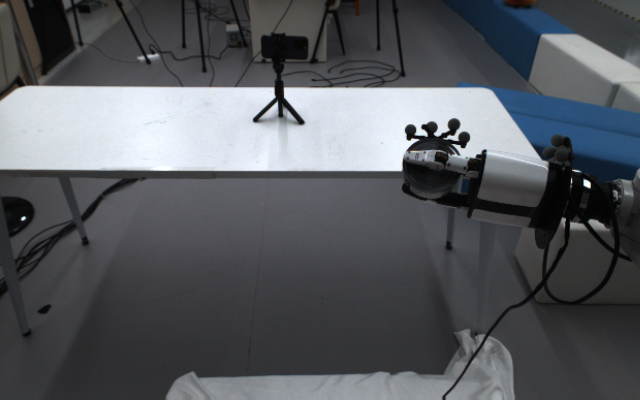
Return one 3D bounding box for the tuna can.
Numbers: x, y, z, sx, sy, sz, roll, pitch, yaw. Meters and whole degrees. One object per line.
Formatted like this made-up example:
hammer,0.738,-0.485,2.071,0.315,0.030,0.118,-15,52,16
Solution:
tuna can,0.165,-0.050,0.714,0.085,0.034,0.085,-2,70,7
